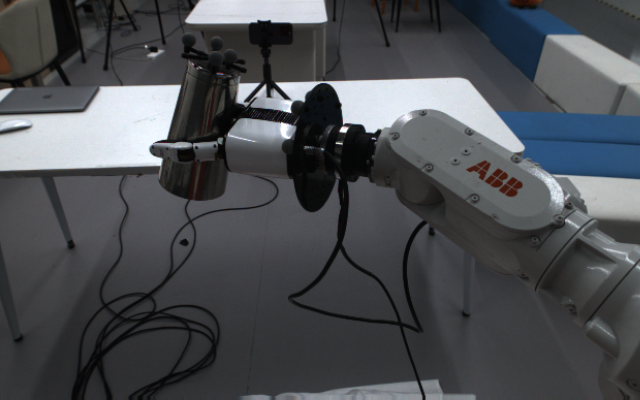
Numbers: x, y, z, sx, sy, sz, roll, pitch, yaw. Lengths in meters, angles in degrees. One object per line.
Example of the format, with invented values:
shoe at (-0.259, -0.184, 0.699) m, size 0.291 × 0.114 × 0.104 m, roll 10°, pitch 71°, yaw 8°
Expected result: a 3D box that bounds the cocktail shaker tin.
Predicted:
cocktail shaker tin at (-0.155, -0.097, 0.640) m, size 0.093 × 0.170 × 0.093 m, roll 15°, pitch 27°, yaw -8°
